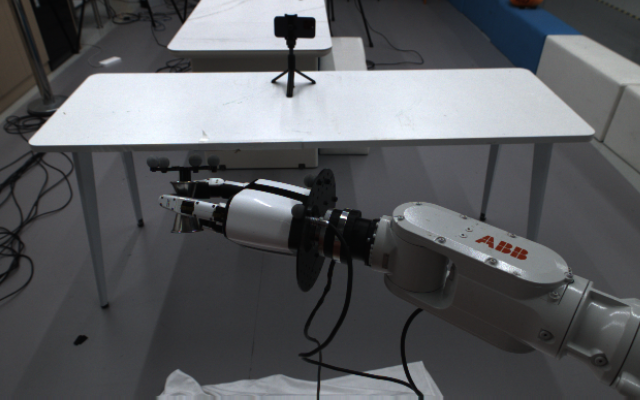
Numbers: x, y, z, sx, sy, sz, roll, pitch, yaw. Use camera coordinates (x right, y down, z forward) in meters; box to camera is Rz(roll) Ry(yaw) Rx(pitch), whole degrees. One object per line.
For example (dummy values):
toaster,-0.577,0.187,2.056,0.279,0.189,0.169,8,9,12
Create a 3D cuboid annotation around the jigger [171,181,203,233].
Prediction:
jigger,-0.182,0.009,0.657,0.043,0.071,0.043,-2,4,0
